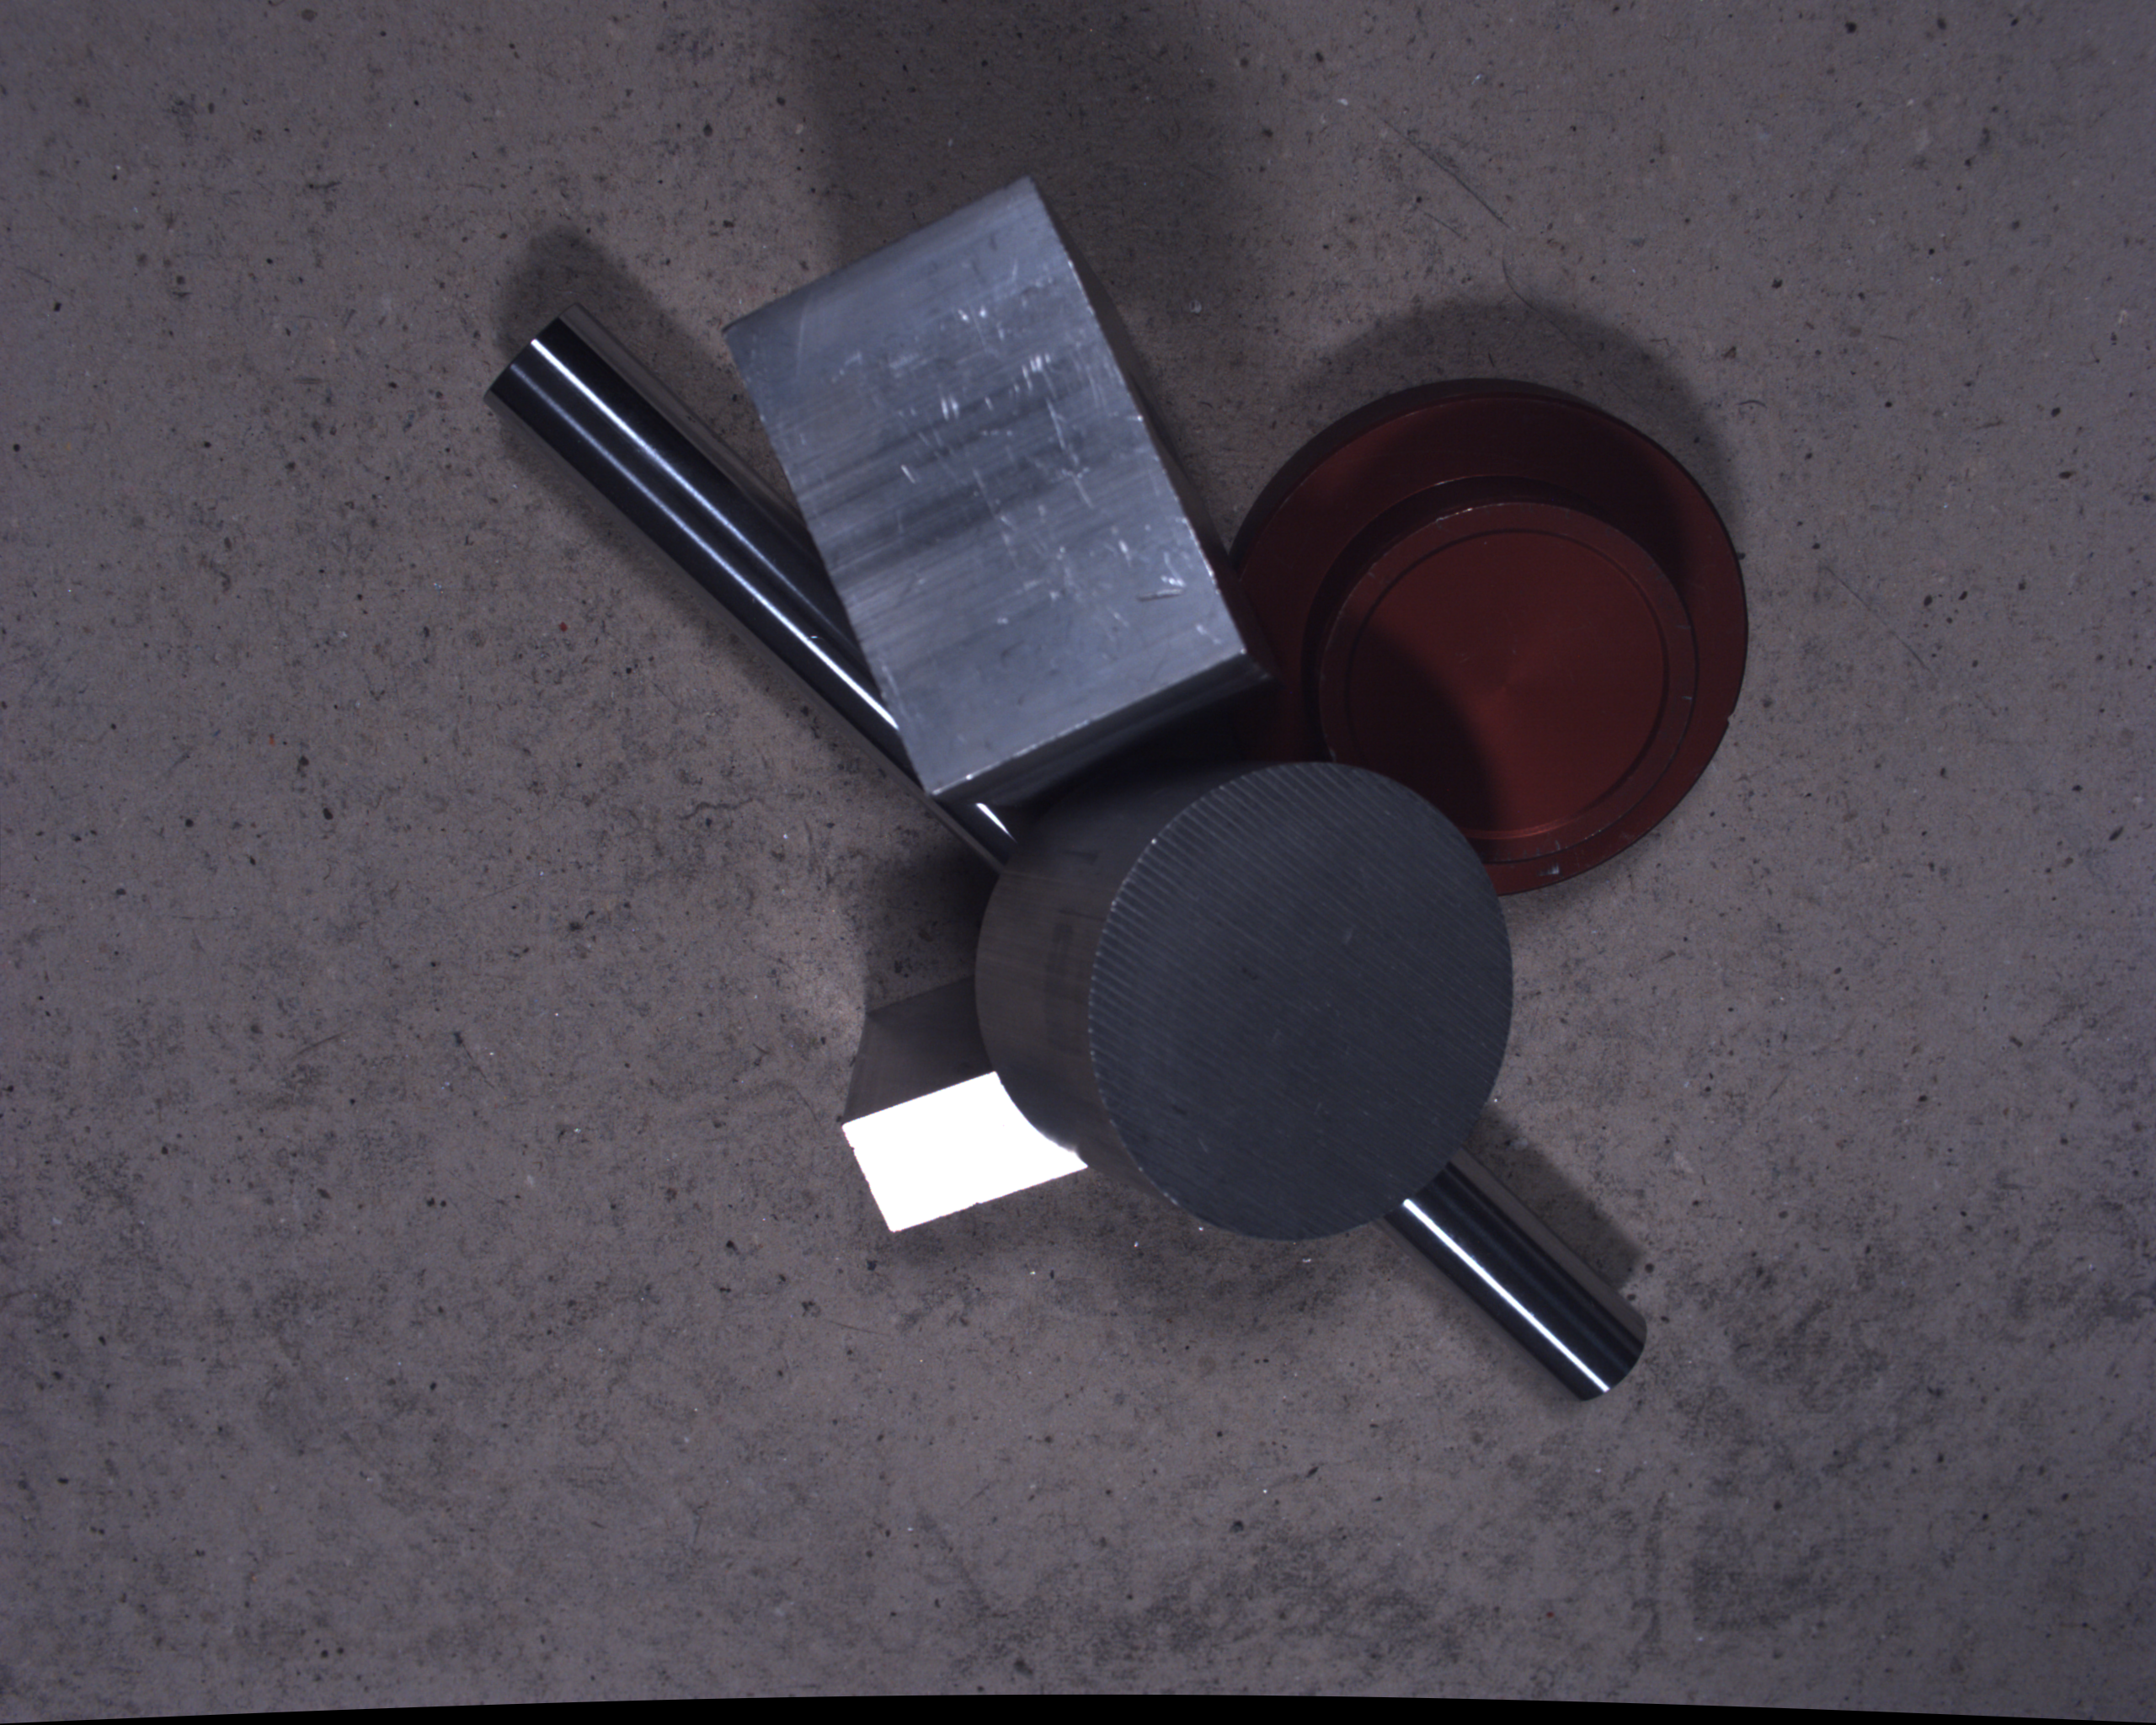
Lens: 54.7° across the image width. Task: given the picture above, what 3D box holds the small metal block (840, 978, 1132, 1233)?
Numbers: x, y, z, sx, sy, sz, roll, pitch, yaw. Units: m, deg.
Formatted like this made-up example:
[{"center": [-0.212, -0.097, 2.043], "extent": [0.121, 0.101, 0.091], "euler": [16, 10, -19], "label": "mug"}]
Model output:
[{"center": [-0.017, 0.043, 0.414], "extent": [0.050, 0.050, 0.025], "euler": [-20, 108, 6], "label": "small metal block"}]

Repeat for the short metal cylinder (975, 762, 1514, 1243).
[{"center": [0.028, 0.022, 0.366], "extent": [0.081, 0.050, 0.079], "euler": [-1, 93, -23], "label": "short metal cylinder"}]

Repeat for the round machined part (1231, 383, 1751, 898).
[{"center": [0.076, -0.038, 0.388], "extent": [0.099, 0.042, 0.097], "euler": [0, 110, -1], "label": "round machined part"}]

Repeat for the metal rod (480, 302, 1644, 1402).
[{"center": [0.007, 0.007, 0.414], "extent": [0.025, 0.025, 0.300], "euler": [-43, 105, 14], "label": "metal rod"}]

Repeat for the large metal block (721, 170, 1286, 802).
[{"center": [-0.008, -0.057, 0.349], "extent": [0.050, 0.080, 0.080], "euler": [-25, 86, 10], "label": "large metal block"}]
